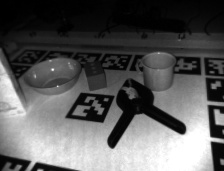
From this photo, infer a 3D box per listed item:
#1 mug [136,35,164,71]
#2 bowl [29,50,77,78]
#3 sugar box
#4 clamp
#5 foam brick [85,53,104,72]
[{"bbox_3d":[0.106,-0.101,0.661,0.115,0.082,0.094,26,50,30],"label":"mug"},{"bbox_3d":[-0.182,-0.074,0.696,0.161,0.055,0.161,-3,40,3],"label":"bowl"},{"bbox_3d":[-0.291,-0.041,0.577,0.093,0.177,0.045,-12,41,-7],"label":"sugar box"},{"bbox_3d":[0.046,-0.007,0.587,0.165,0.037,0.201,-12,40,-3],"label":"clamp"},{"bbox_3d":[-0.062,-0.078,0.695,0.053,0.052,0.077,-14,41,-6],"label":"foam brick"}]
